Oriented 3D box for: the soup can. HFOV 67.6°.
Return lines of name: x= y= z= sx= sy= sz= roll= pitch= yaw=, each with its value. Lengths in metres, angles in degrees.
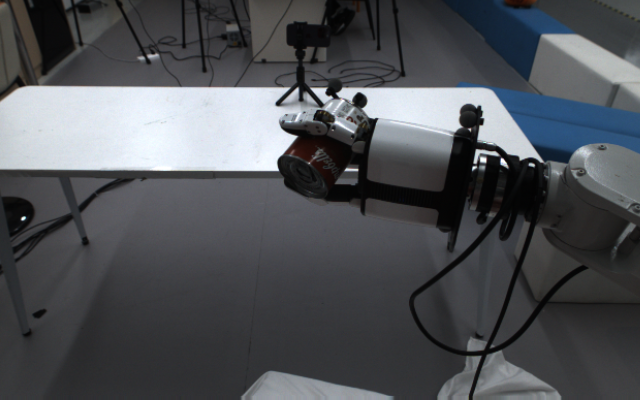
soup can: x=0.009 y=-0.061 z=0.556 sx=0.067 sy=0.067 sz=0.101 roll=22 pitch=61 yaw=26
